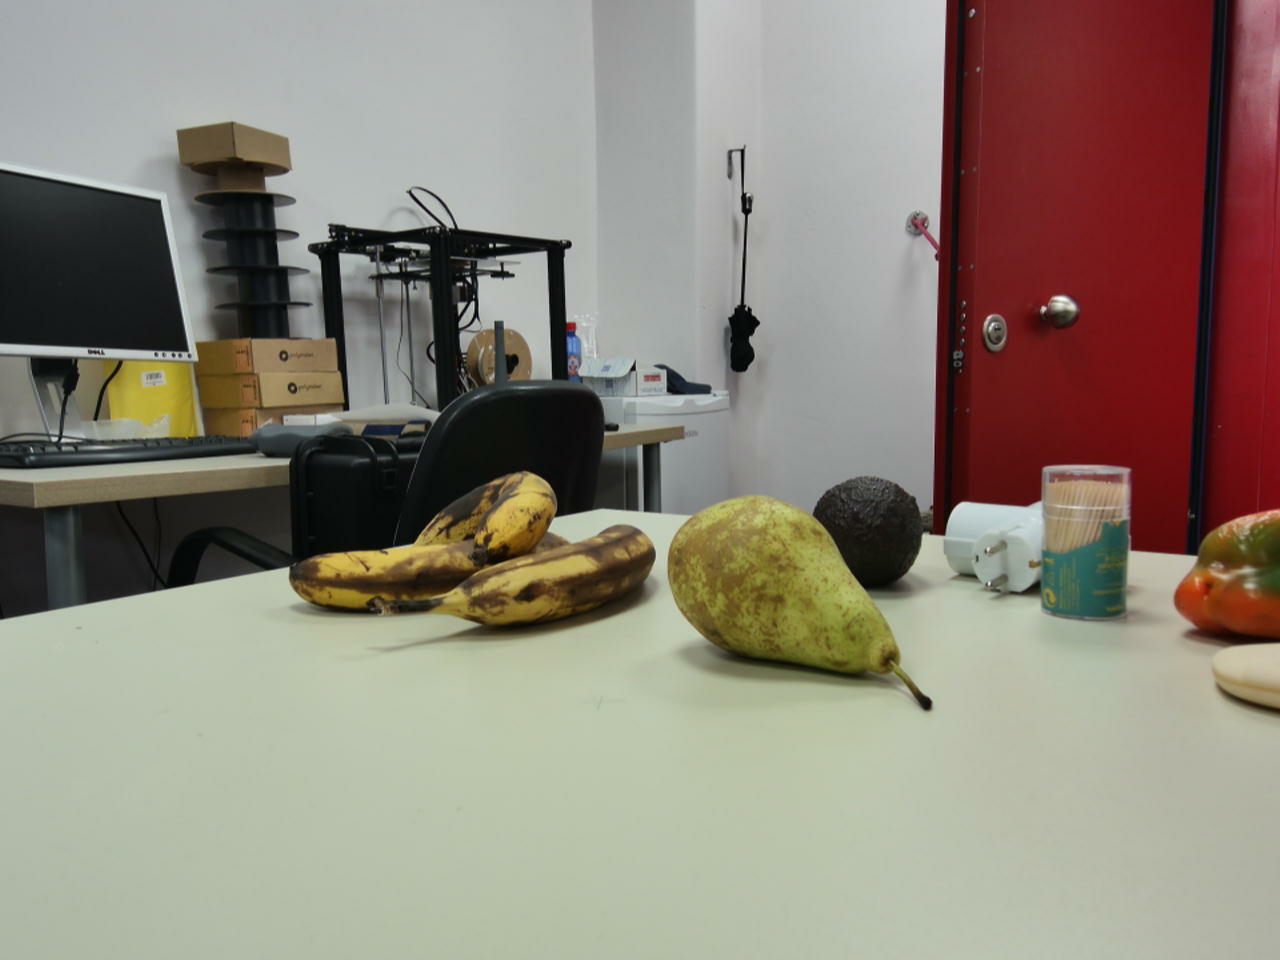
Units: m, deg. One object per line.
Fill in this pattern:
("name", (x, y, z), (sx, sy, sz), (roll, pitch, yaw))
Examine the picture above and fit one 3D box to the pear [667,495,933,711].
("pear", (0.072, 0.046, 0.440), (0.128, 0.075, 0.071), (2, 4, 29))
